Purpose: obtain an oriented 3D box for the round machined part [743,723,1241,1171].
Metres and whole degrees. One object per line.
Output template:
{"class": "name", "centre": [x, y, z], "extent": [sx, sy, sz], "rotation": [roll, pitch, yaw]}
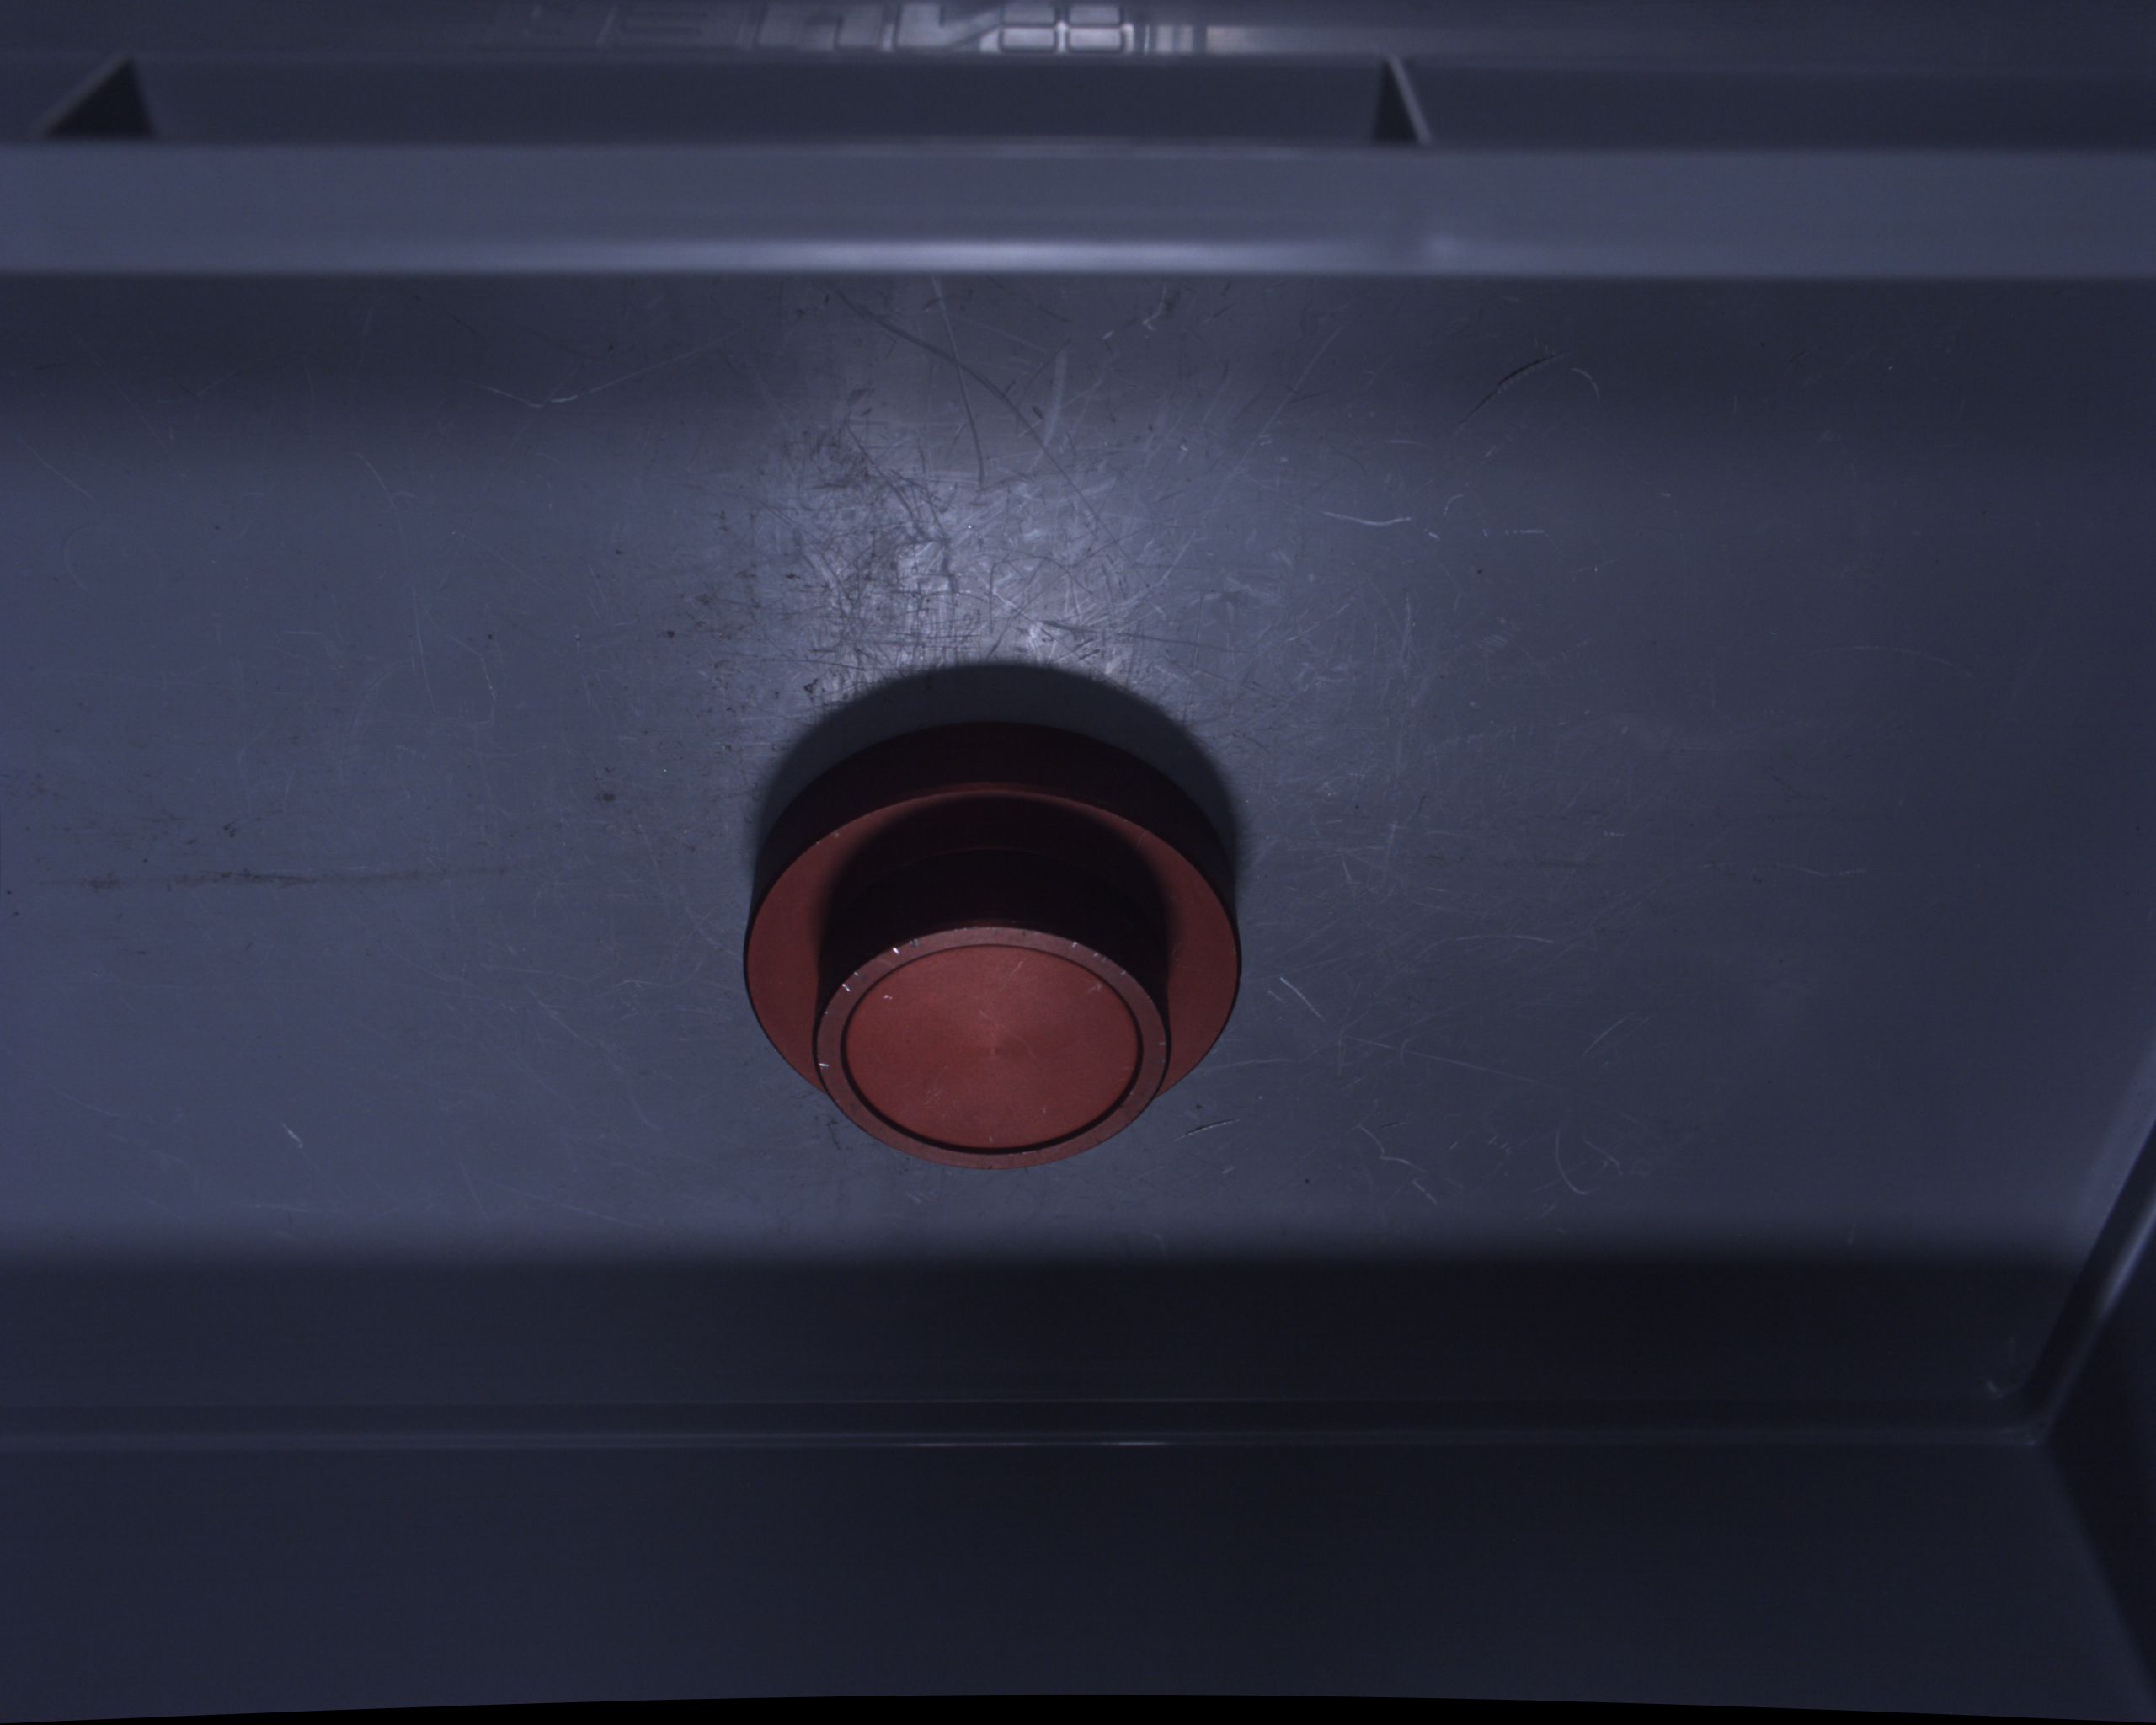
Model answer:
{"class": "round machined part", "centre": [-0.017, 0.023, 0.413], "extent": [0.099, 0.042, 0.097], "rotation": [-1, 130, 0]}
